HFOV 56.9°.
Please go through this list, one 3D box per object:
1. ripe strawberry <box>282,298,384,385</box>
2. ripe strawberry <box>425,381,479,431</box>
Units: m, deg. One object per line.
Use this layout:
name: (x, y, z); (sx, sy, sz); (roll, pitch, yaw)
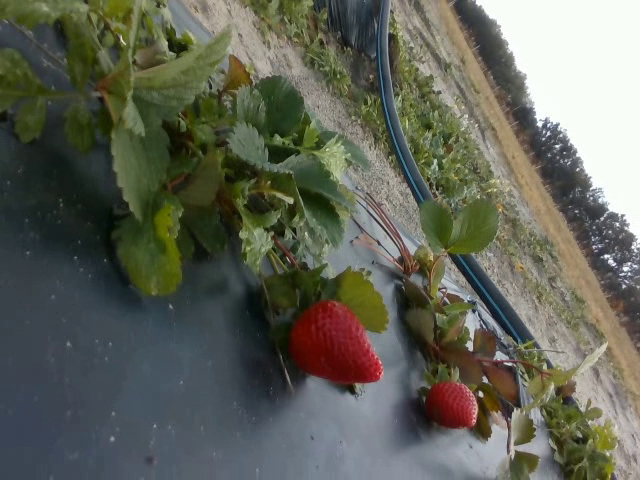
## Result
ripe strawberry: (0.010, 0.053, 0.274); (0.046, 0.050, 0.050); (-34, 31, -30)
ripe strawberry: (0.092, 0.116, 0.393); (0.042, 0.044, 0.052); (-4, 9, -10)
